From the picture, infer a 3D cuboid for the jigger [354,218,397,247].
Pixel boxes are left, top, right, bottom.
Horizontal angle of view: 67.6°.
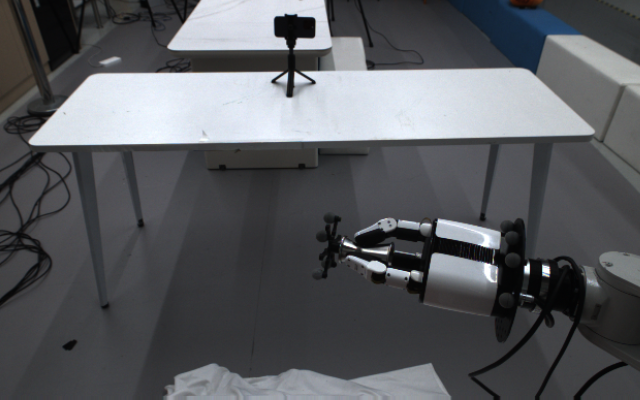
[{"bbox_3d":[0.069,0.070,0.658,0.071,0.043,0.043,9,35,17],"label":"jigger"}]
